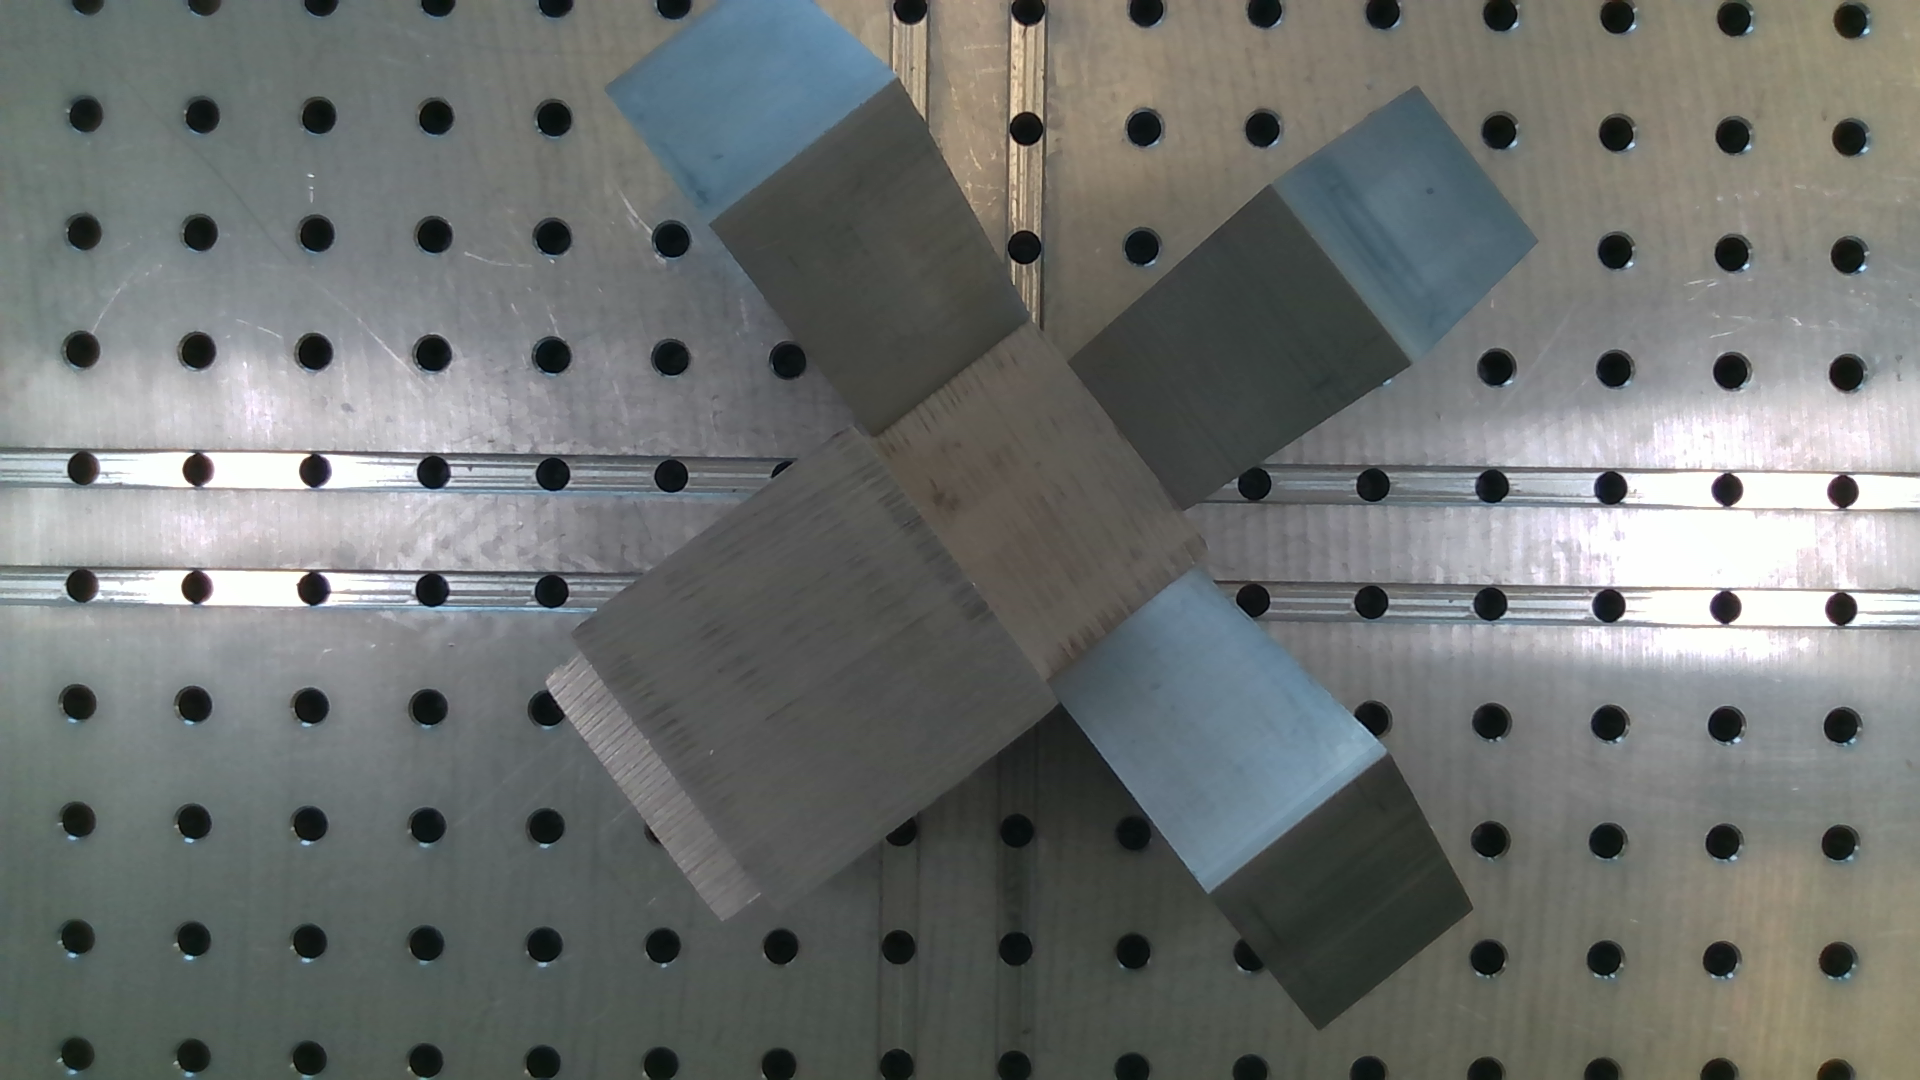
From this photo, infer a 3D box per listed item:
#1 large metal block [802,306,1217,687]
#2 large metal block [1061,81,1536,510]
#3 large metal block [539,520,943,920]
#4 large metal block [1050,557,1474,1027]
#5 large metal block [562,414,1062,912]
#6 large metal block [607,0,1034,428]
[{"bbox_3d":[0.011,-0.005,0.385,0.080,0.050,0.080,-38,90,0],"label":"large metal block"},{"bbox_3d":[0.086,-0.062,0.354,0.080,0.080,0.050,-38,90,-39],"label":"large metal block"},{"bbox_3d":[-0.054,0.043,0.384,0.080,0.050,0.080,-37,91,-1],"label":"large metal block"},{"bbox_3d":[0.076,0.064,0.355,0.050,0.080,0.080,-38,130,0],"label":"large metal block"},{"bbox_3d":[-0.033,0.027,0.334,0.080,0.050,0.080,-37,91,1],"label":"large metal block"},{"bbox_3d":[-0.035,-0.089,0.355,0.050,0.080,0.080,-38,48,-1],"label":"large metal block"}]
